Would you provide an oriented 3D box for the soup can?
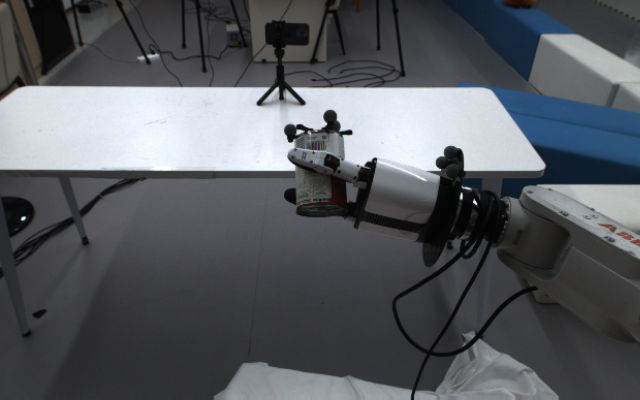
[{"bbox_3d":[0.000,-0.035,0.636,0.067,0.067,0.101,-1,76,-4],"label":"soup can"}]
